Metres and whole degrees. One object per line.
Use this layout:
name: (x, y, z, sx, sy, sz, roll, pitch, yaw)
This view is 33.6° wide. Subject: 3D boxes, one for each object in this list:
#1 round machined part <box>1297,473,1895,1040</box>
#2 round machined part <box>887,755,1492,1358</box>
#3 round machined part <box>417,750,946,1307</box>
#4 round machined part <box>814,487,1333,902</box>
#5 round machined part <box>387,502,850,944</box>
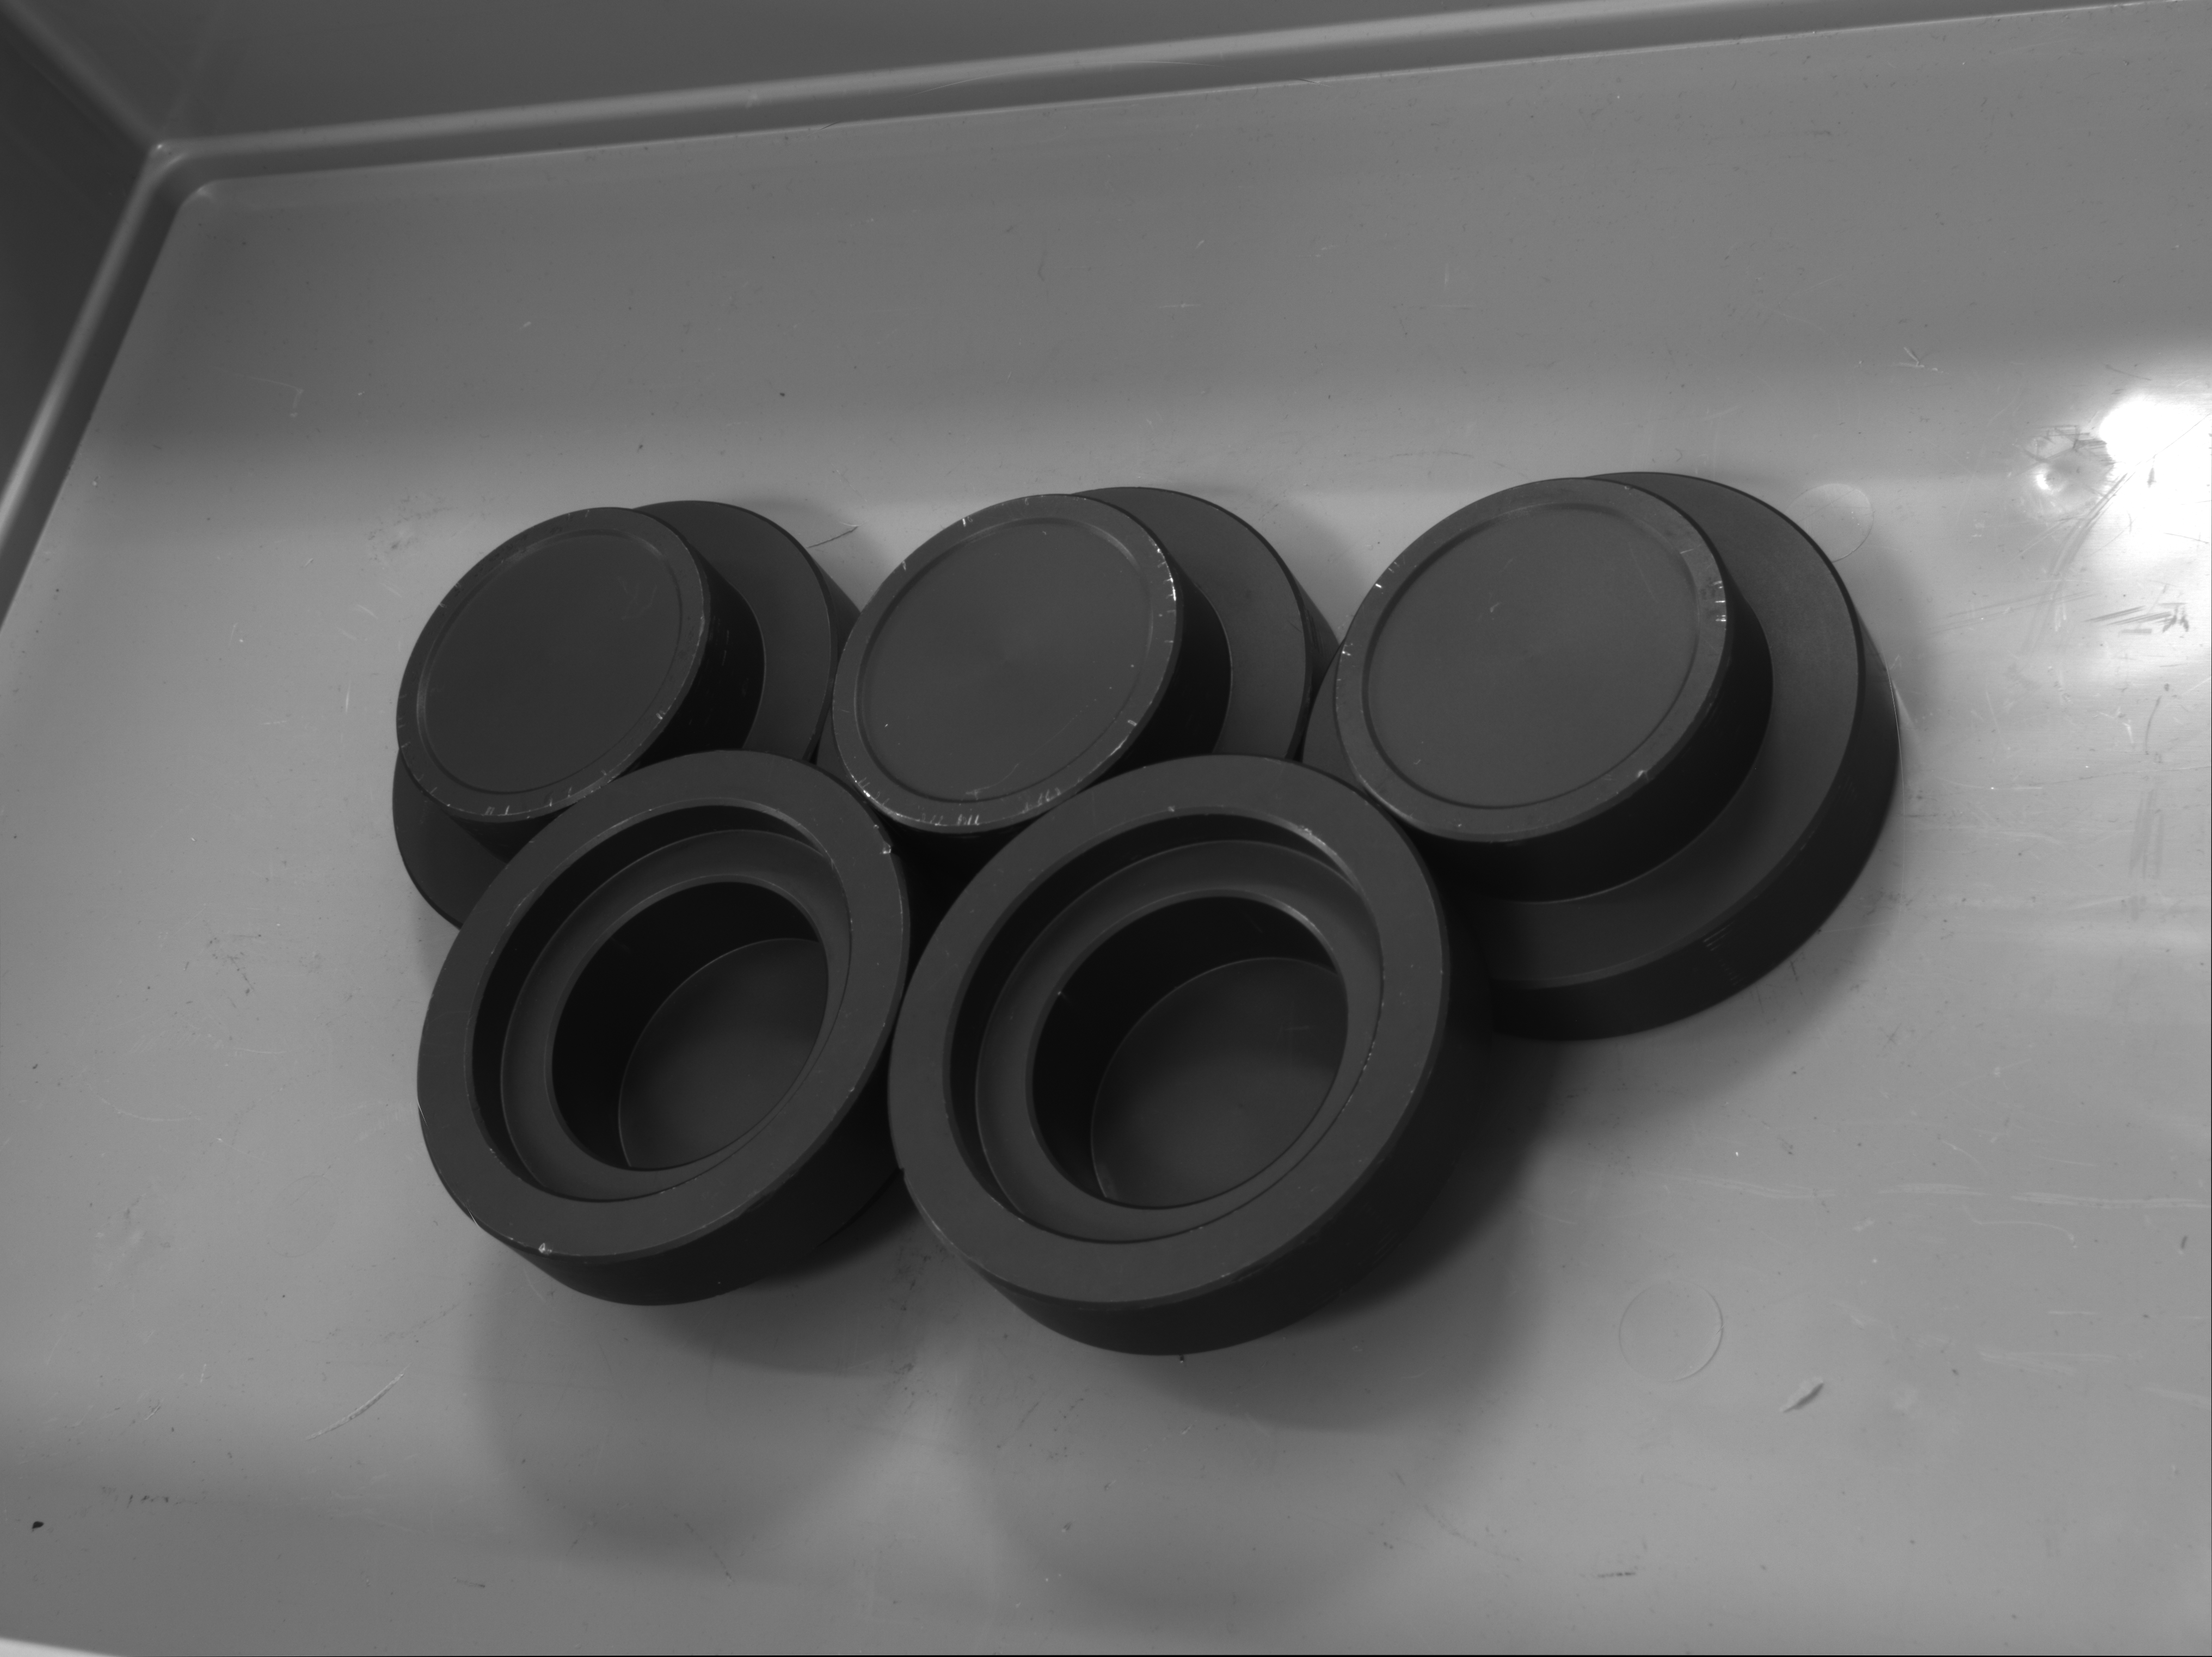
round machined part: (0.076, -0.018, 0.601, 0.098, 0.042, 0.098, -14, 55, 21)
round machined part: (0.017, 0.040, 0.598, 0.098, 0.042, 0.098, -13, 56, 21)
round machined part: (-0.068, 0.039, 0.645, 0.098, 0.042, 0.098, -13, 56, 21)
round machined part: (-0.010, -0.020, 0.649, 0.098, 0.042, 0.098, -14, 55, 21)
round machined part: (-0.095, -0.022, 0.696, 0.098, 0.042, 0.098, -13, 55, 20)
